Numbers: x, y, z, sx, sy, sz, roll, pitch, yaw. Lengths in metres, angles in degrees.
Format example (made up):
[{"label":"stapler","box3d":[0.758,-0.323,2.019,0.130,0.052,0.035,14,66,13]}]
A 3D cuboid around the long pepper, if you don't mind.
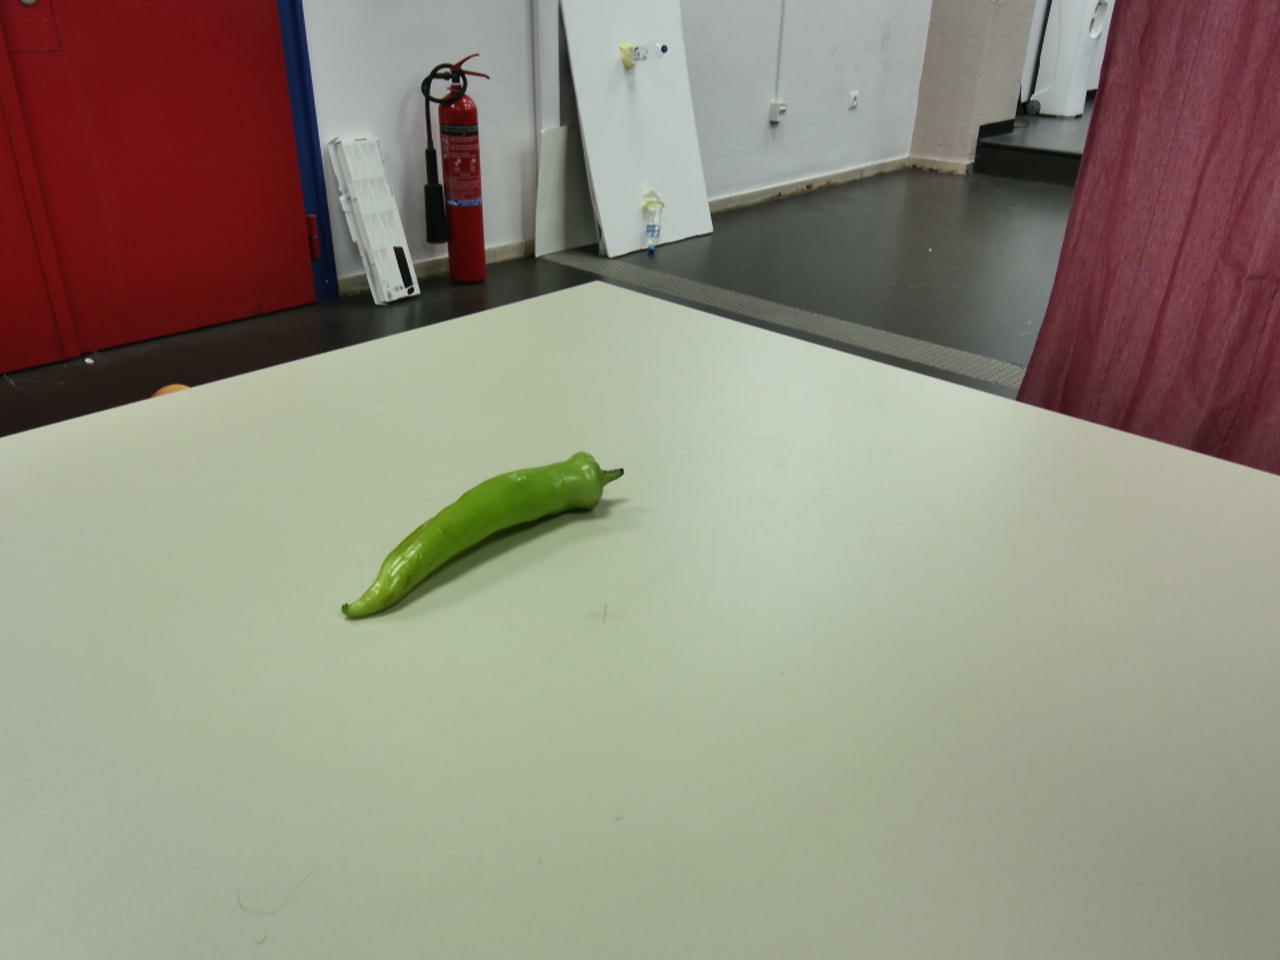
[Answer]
[{"label":"long pepper","box3d":[-0.090,0.022,0.572,0.047,0.038,0.197,23,33,39]}]
